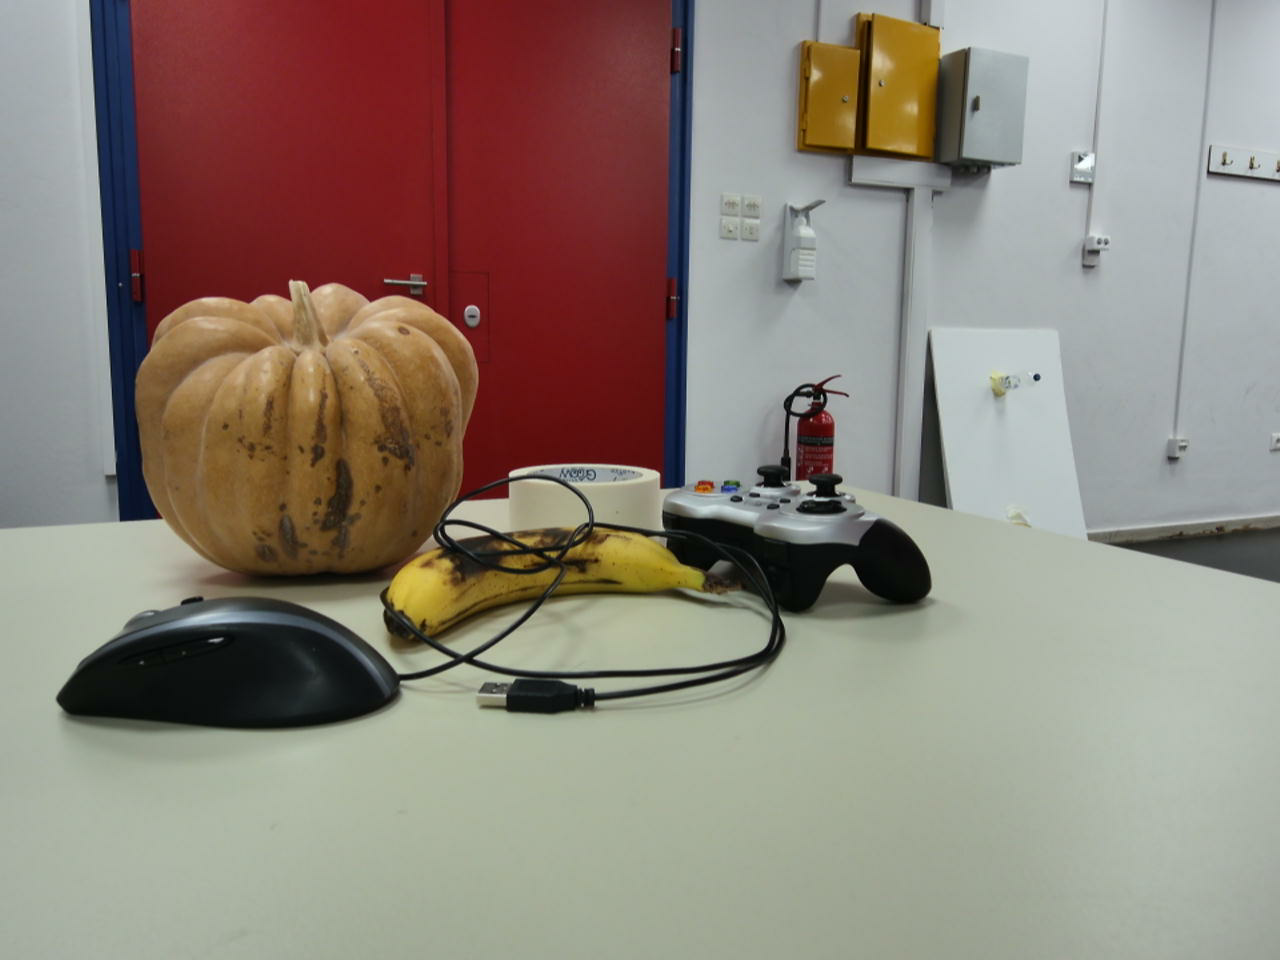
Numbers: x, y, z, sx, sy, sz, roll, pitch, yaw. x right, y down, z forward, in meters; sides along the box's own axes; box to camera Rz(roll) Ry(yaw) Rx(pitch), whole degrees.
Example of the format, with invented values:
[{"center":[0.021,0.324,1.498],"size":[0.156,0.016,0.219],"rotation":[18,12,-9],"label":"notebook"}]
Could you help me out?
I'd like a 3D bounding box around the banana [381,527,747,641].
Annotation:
[{"center":[-0.050,0.051,0.526],"size":[0.187,0.039,0.094],"rotation":[-3,7,-27],"label":"banana"}]
